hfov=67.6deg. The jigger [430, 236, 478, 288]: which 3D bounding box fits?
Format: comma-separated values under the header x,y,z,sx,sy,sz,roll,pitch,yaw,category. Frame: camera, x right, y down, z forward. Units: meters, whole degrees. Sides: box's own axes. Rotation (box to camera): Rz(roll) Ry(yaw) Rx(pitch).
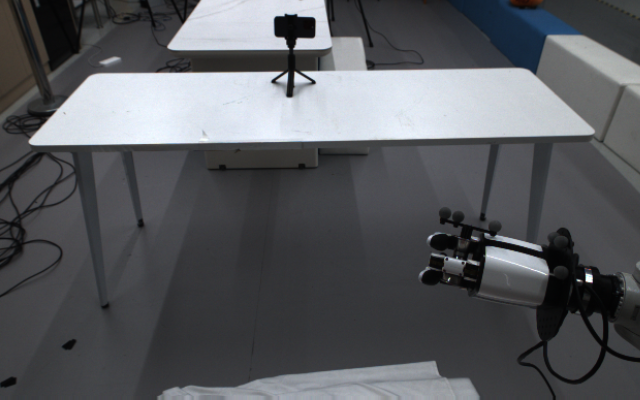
x,y,z,sx,sy,sz,roll,pitch,yaw,category
0.205,0.087,0.705,0.043,0.071,0.043,14,1,0,jigger
